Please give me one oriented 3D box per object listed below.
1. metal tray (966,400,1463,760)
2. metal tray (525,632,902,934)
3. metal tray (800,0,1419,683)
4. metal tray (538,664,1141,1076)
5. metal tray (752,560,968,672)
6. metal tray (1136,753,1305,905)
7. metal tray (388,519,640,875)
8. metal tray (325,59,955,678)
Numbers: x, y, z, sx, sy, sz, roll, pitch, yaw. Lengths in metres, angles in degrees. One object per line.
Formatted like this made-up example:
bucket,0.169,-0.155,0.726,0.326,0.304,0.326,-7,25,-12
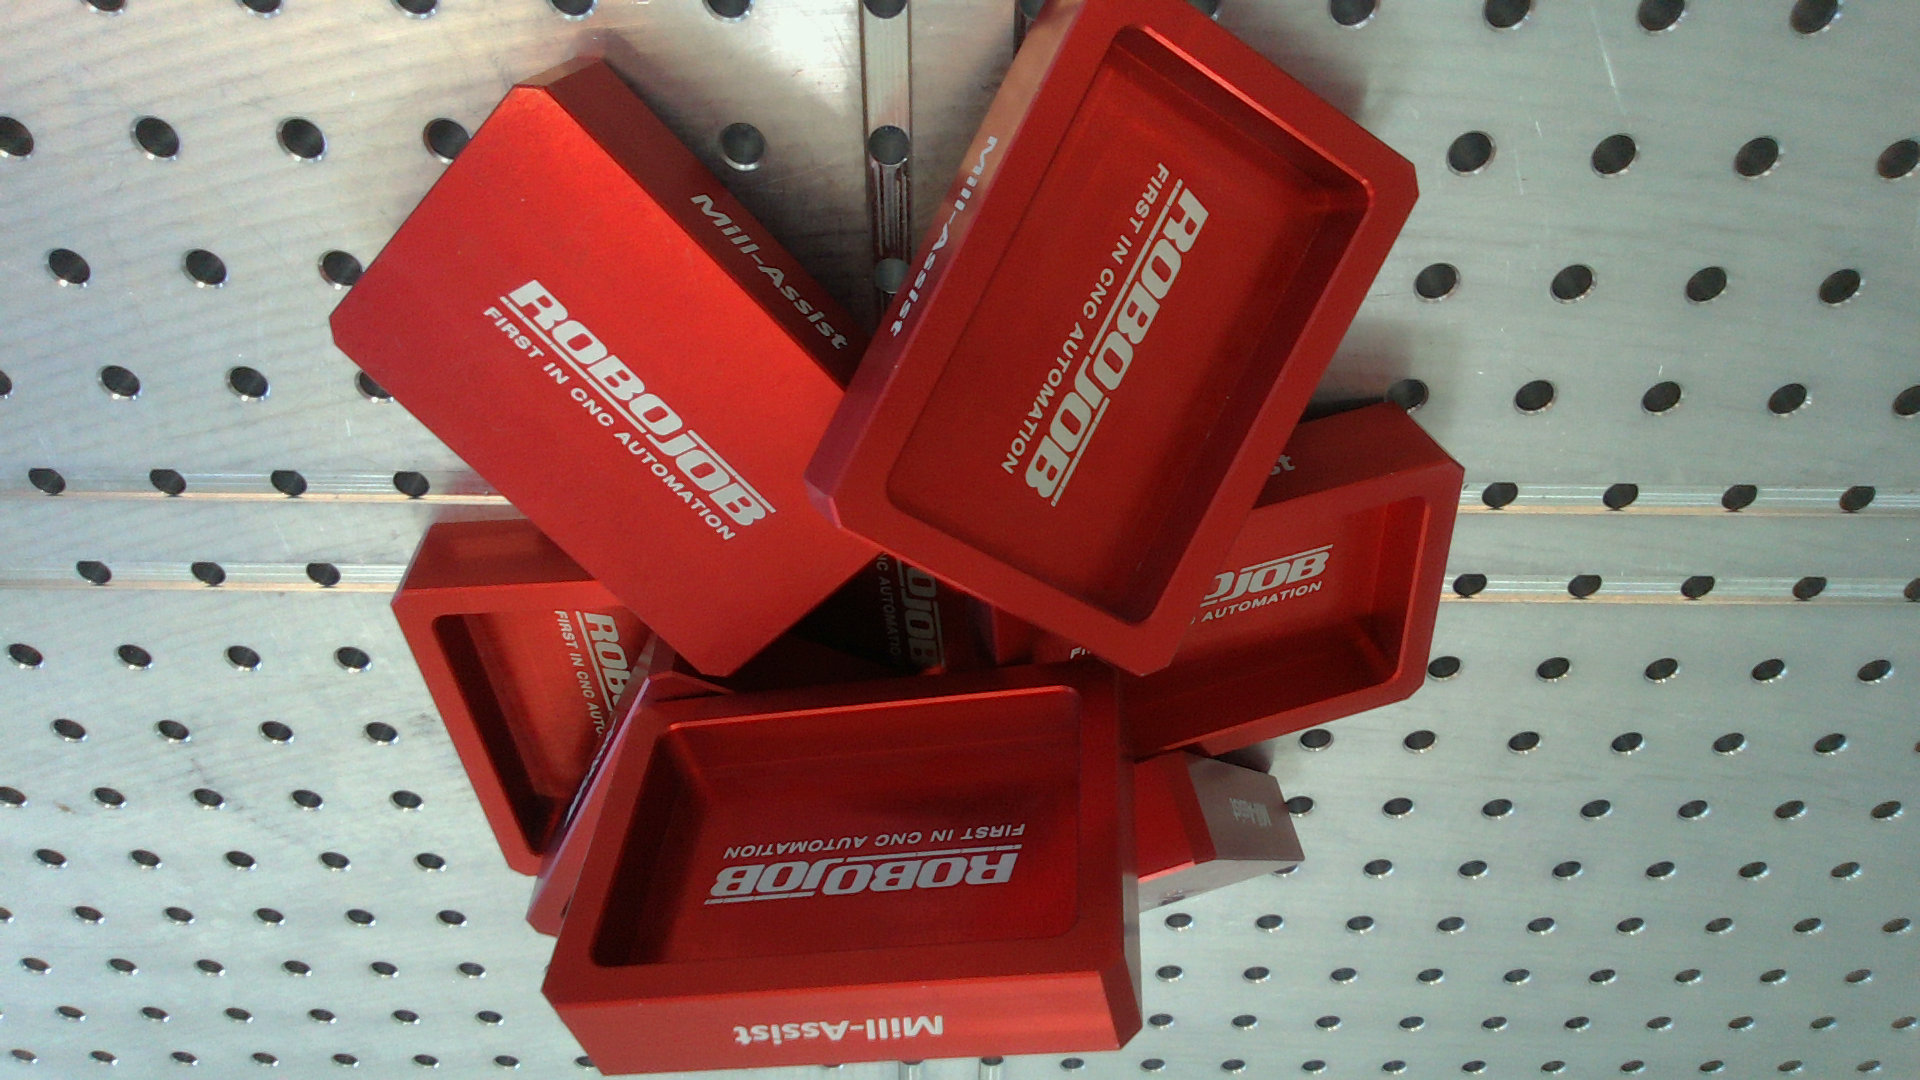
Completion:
metal tray,0.069,0.019,0.383,0.130,0.030,0.090,-15,131,-10
metal tray,-0.069,0.084,0.421,0.090,0.030,0.130,21,127,-17
metal tray,0.034,-0.045,0.309,0.090,0.030,0.130,27,92,-21
metal tray,-0.024,0.077,0.331,0.130,0.090,0.030,-6,130,11
metal tray,-0.016,0.011,0.399,0.090,0.030,0.130,-5,128,1
metal tray,0.049,0.099,0.430,0.090,0.030,0.130,-23,160,19
metal tray,-0.111,0.052,0.434,0.090,0.030,0.130,-4,129,2
metal tray,-0.076,-0.037,0.336,0.090,0.030,0.130,-38,105,27
